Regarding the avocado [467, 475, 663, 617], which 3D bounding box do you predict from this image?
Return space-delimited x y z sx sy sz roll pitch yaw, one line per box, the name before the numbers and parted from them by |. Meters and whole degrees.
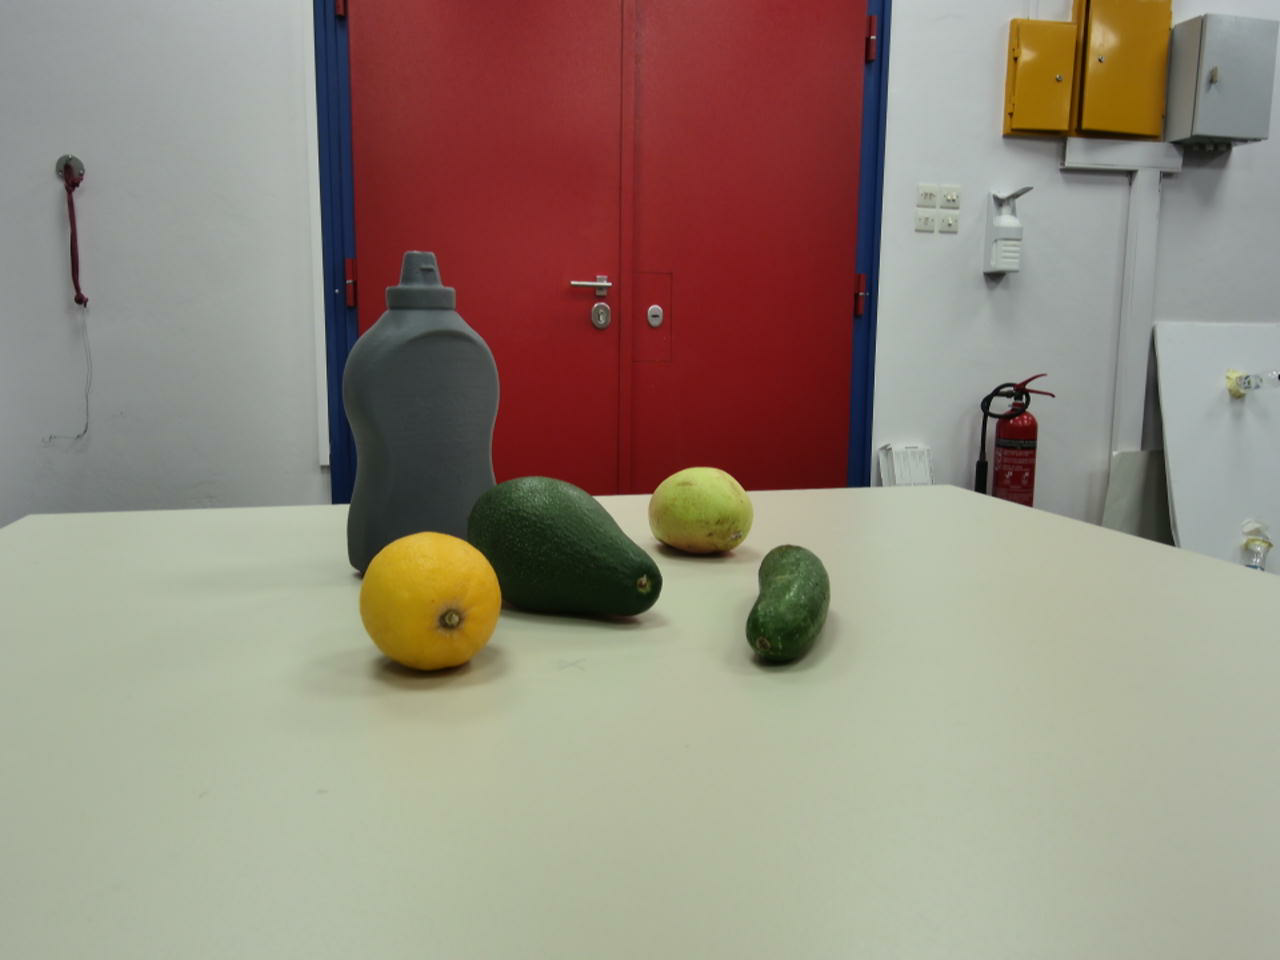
avocado | -0.044 0.034 0.523 0.072 0.071 0.110 -4 8 -36
